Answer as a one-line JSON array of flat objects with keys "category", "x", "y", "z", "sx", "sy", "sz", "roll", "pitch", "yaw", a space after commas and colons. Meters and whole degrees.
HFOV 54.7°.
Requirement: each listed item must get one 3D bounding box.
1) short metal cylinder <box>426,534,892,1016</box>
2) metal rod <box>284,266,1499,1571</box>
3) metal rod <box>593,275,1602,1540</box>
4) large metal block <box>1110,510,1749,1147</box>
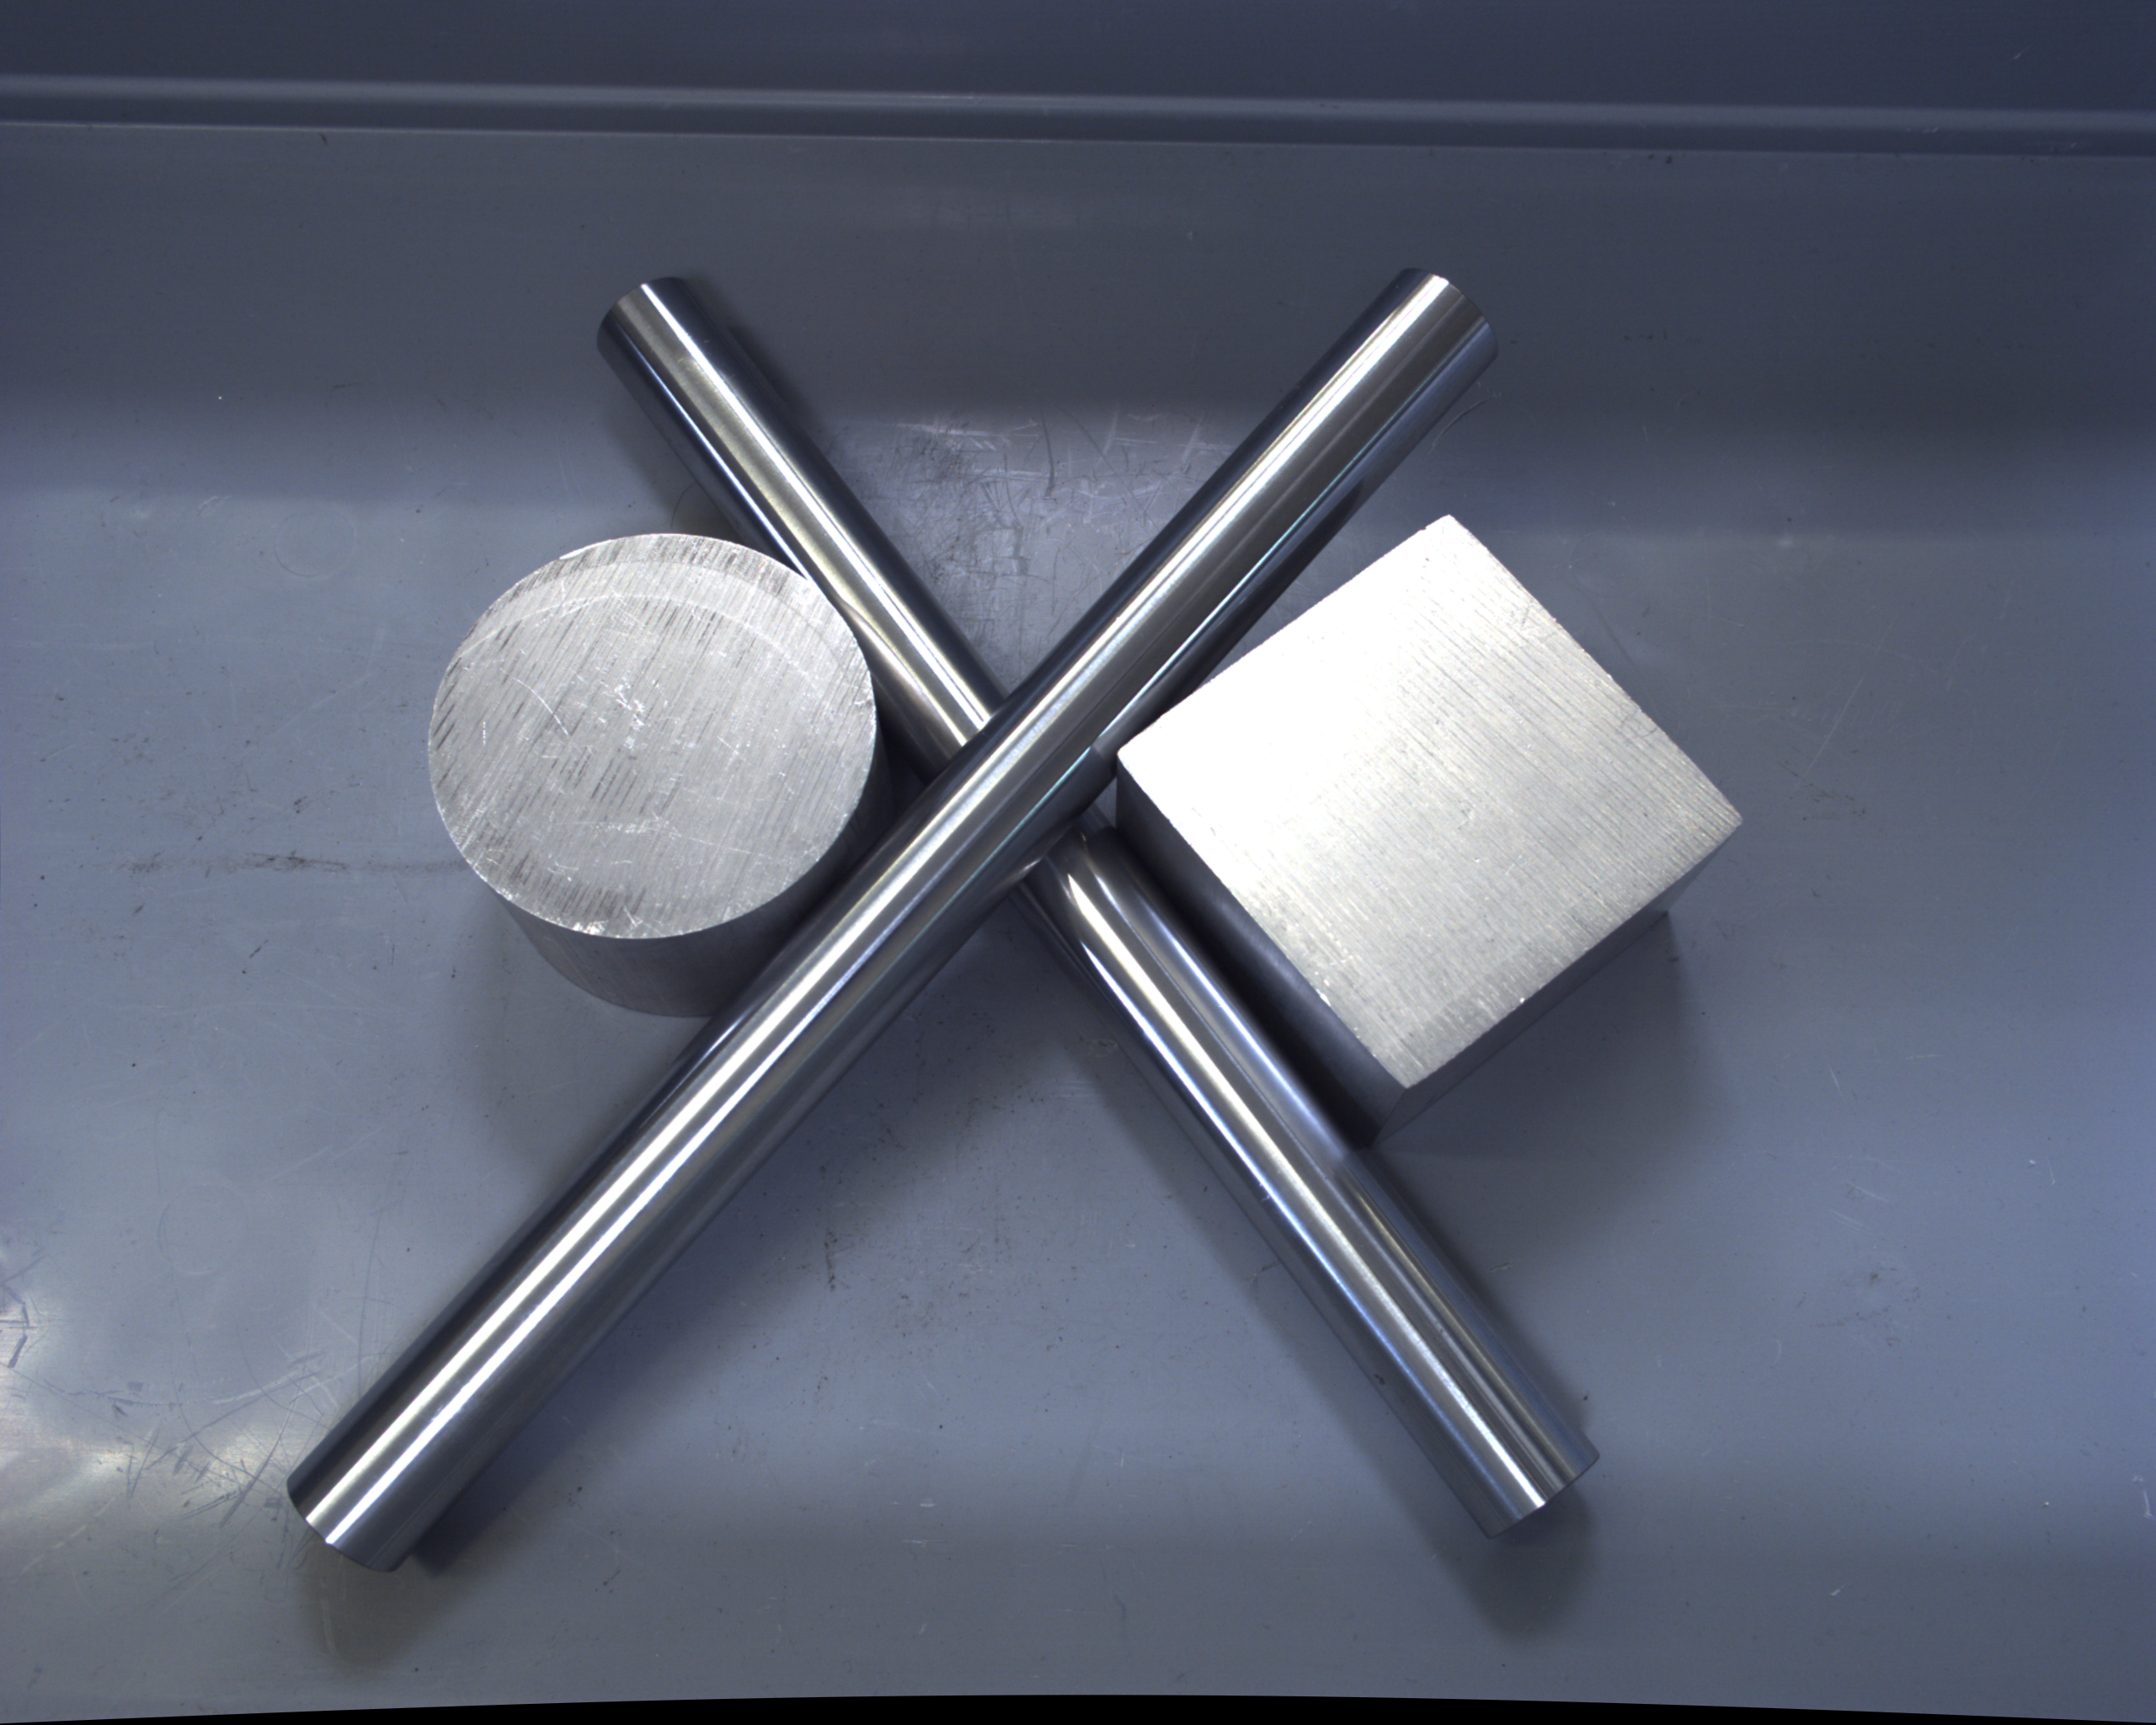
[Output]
[{"category": "short metal cylinder", "x": -0.077, "y": -0.016, "z": 0.400, "sx": 0.081, "sy": 0.050, "sz": 0.080, "roll": 0, "pitch": 70, "yaw": 0}, {"category": "metal rod", "x": -0.029, "y": 0.005, "z": 0.383, "sx": 0.025, "sy": 0.025, "sz": 0.300, "roll": 41, "pitch": 83, "yaw": 13}, {"category": "metal rod", "x": -0.006, "y": -0.003, "z": 0.408, "sx": 0.025, "sy": 0.025, "sz": 0.300, "roll": -34, "pitch": 74, "yaw": -12}, {"category": "large metal block", "x": 0.063, "y": -0.005, "z": 0.396, "sx": 0.080, "sy": 0.050, "sz": 0.080, "roll": -37, "pitch": 74, "yaw": -12}]
